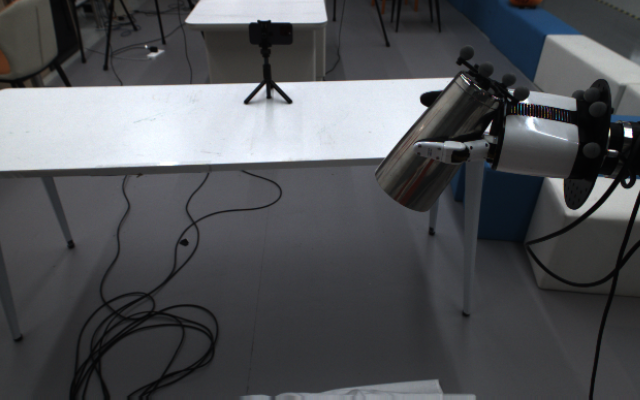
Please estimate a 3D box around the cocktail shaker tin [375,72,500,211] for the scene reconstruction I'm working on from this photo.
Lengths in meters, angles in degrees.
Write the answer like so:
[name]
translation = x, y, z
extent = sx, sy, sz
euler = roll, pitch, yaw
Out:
[cocktail shaker tin]
translation = 0.156, -0.082, 0.629
extent = 0.093, 0.170, 0.093
euler = 26, 32, -18
